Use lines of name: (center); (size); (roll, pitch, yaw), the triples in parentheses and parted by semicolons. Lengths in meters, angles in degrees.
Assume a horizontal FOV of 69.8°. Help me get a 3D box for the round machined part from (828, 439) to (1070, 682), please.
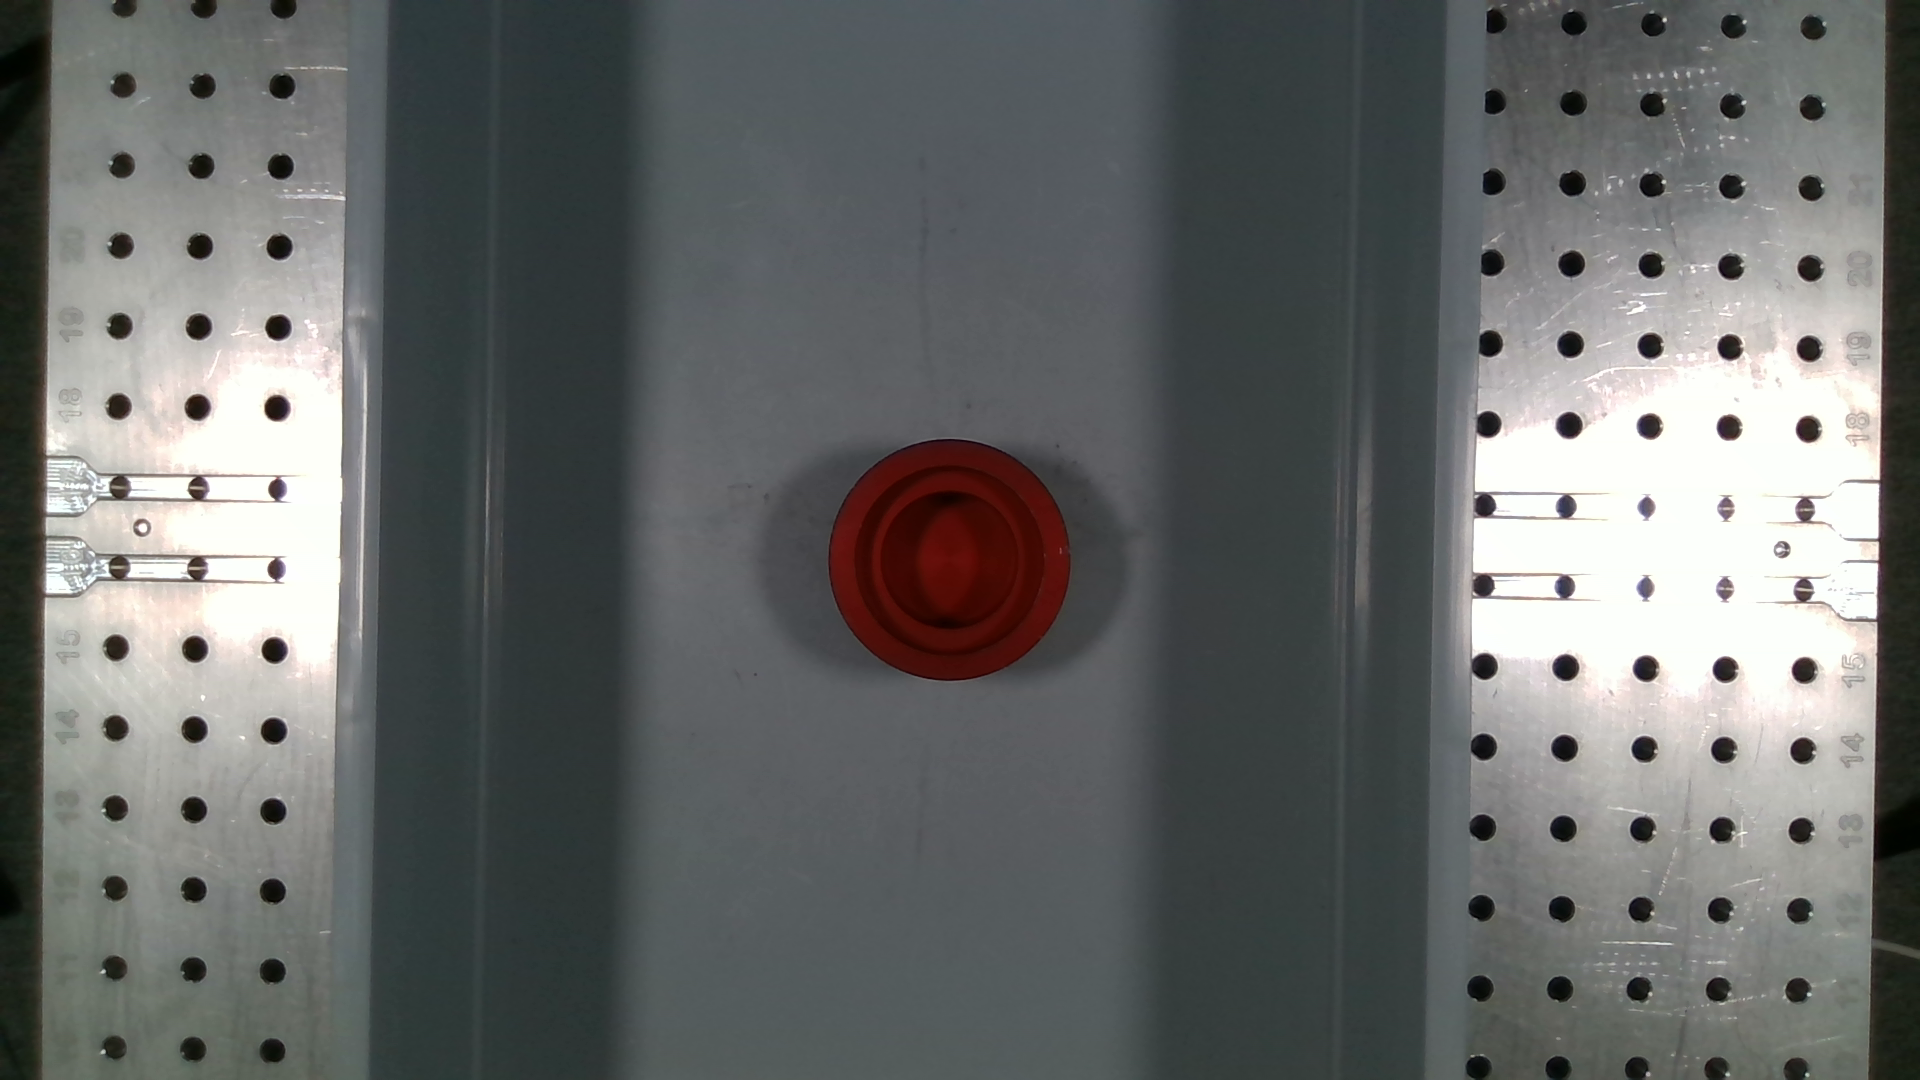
round machined part: (-0.005, 0.008, 0.575); (0.098, 0.042, 0.098); (0, 90, 0)
